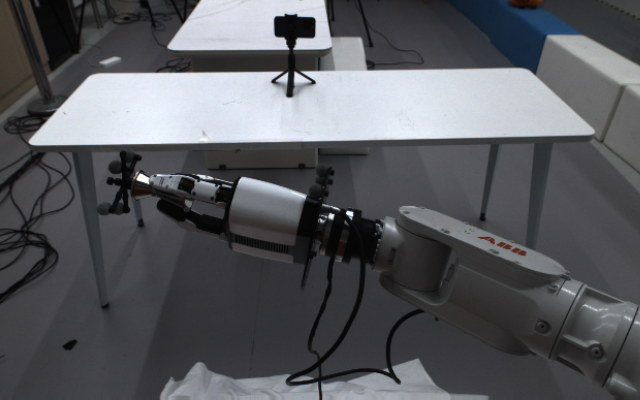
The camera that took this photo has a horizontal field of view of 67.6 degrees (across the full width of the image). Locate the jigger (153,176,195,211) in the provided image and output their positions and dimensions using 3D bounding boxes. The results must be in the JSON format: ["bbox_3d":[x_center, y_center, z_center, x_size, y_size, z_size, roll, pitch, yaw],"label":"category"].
[{"bbox_3d":[-0.190,-0.014,0.611,0.071,0.043,0.043,11,35,1],"label":"jigger"}]
